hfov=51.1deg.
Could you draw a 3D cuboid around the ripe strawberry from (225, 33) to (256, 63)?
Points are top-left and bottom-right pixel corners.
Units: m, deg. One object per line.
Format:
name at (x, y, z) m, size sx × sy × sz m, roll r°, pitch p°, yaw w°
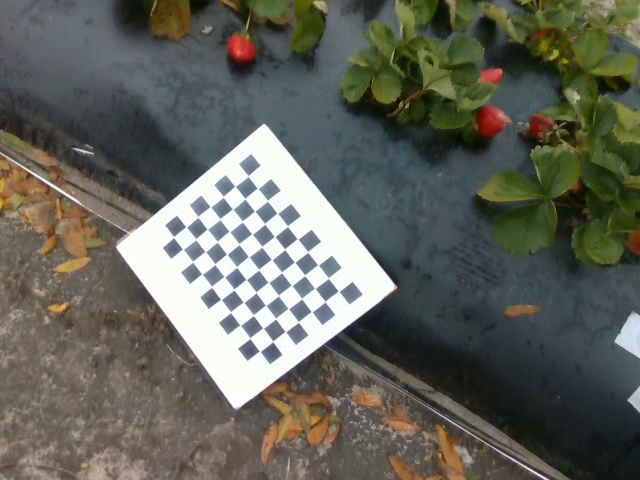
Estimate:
ripe strawberry at (-0.134, -0.297, 1.021) m, size 0.045 × 0.048 × 0.053 m, roll -2°, pitch 39°, yaw 12°
